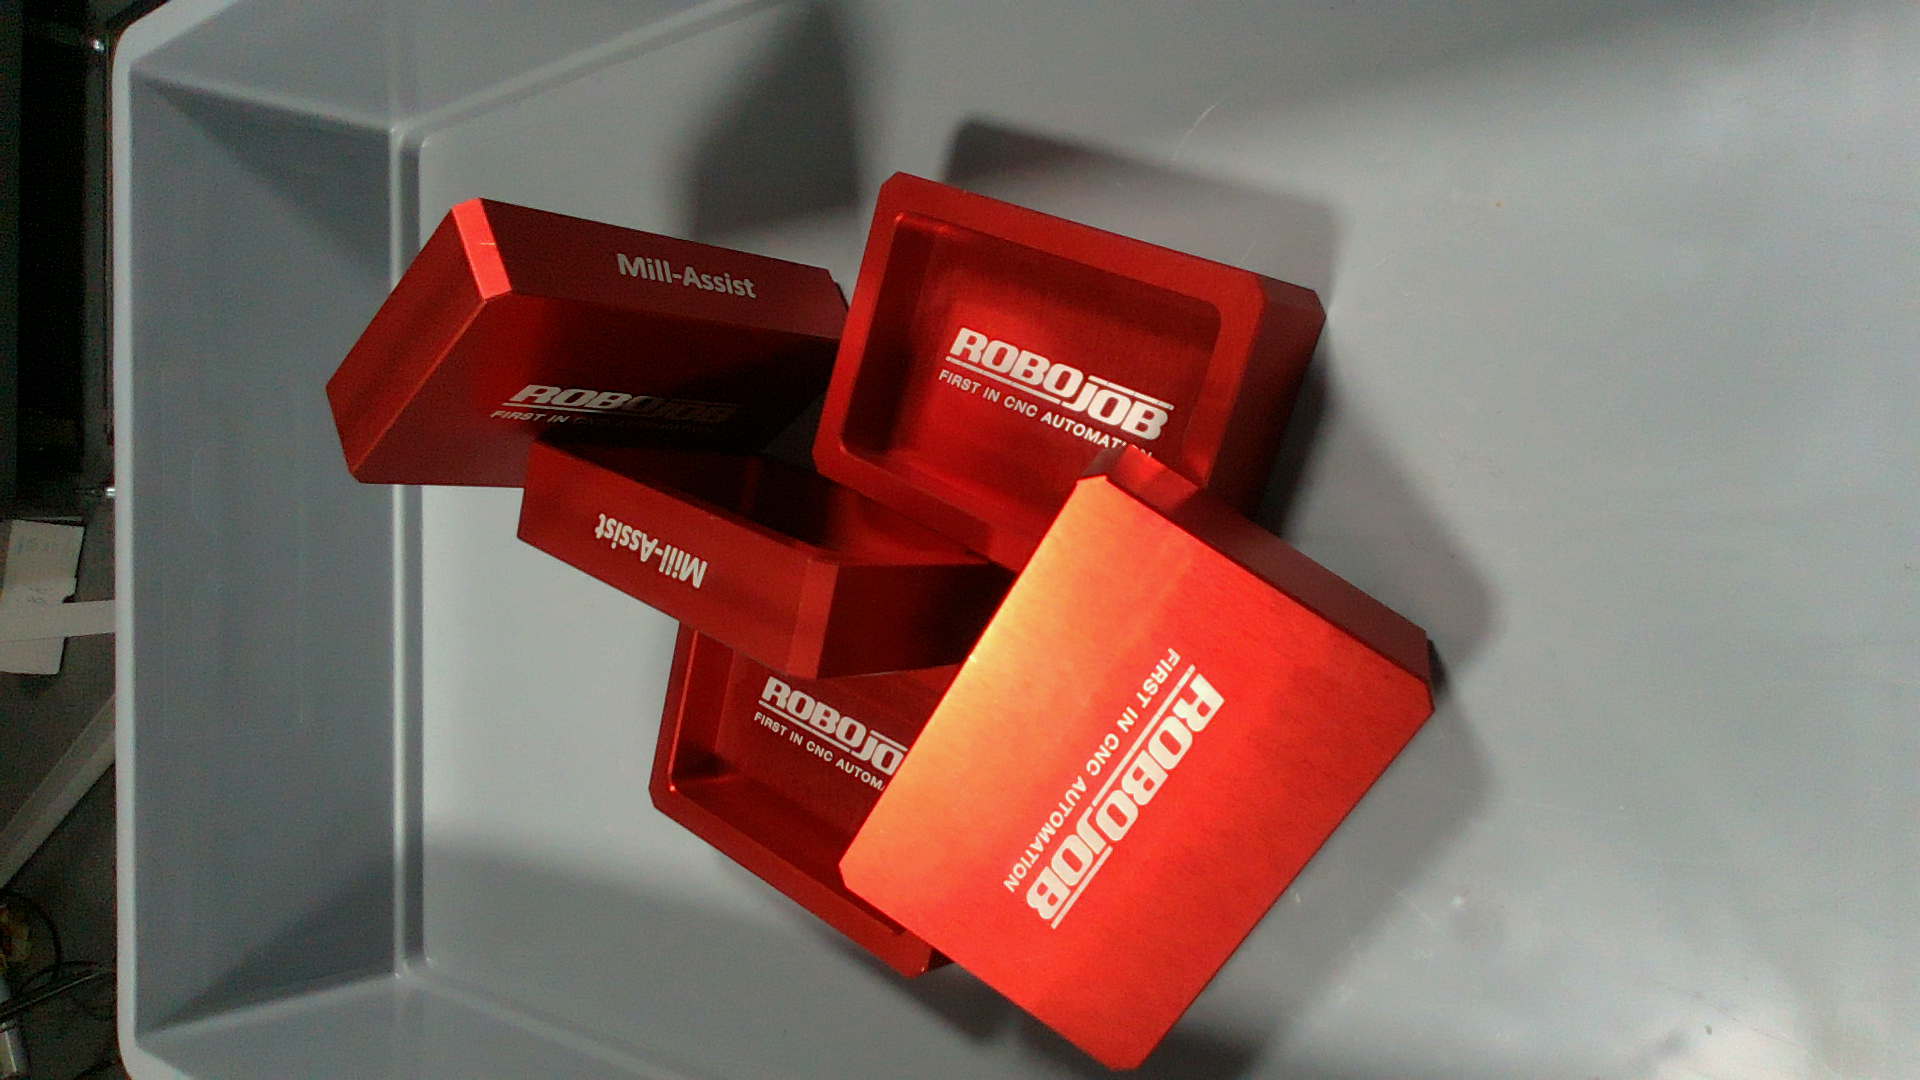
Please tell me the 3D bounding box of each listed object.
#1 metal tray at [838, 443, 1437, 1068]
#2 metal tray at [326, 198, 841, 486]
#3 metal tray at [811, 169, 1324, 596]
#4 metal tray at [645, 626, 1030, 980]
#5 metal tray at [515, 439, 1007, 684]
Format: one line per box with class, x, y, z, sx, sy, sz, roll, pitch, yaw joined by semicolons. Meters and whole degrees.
metal tray;0.039;0.054;0.331;0.090;0.030;0.130;33;114;5
metal tray;-0.106;-0.052;0.412;0.090;0.131;0.030;-38;67;34
metal tray;0.022;-0.041;0.371;0.130;0.030;0.090;27;107;37
metal tray;-0.040;0.063;0.422;0.129;0.030;0.090;20;103;38
metal tray;-0.053;0.002;0.394;0.129;0.090;0.030;20;103;38
